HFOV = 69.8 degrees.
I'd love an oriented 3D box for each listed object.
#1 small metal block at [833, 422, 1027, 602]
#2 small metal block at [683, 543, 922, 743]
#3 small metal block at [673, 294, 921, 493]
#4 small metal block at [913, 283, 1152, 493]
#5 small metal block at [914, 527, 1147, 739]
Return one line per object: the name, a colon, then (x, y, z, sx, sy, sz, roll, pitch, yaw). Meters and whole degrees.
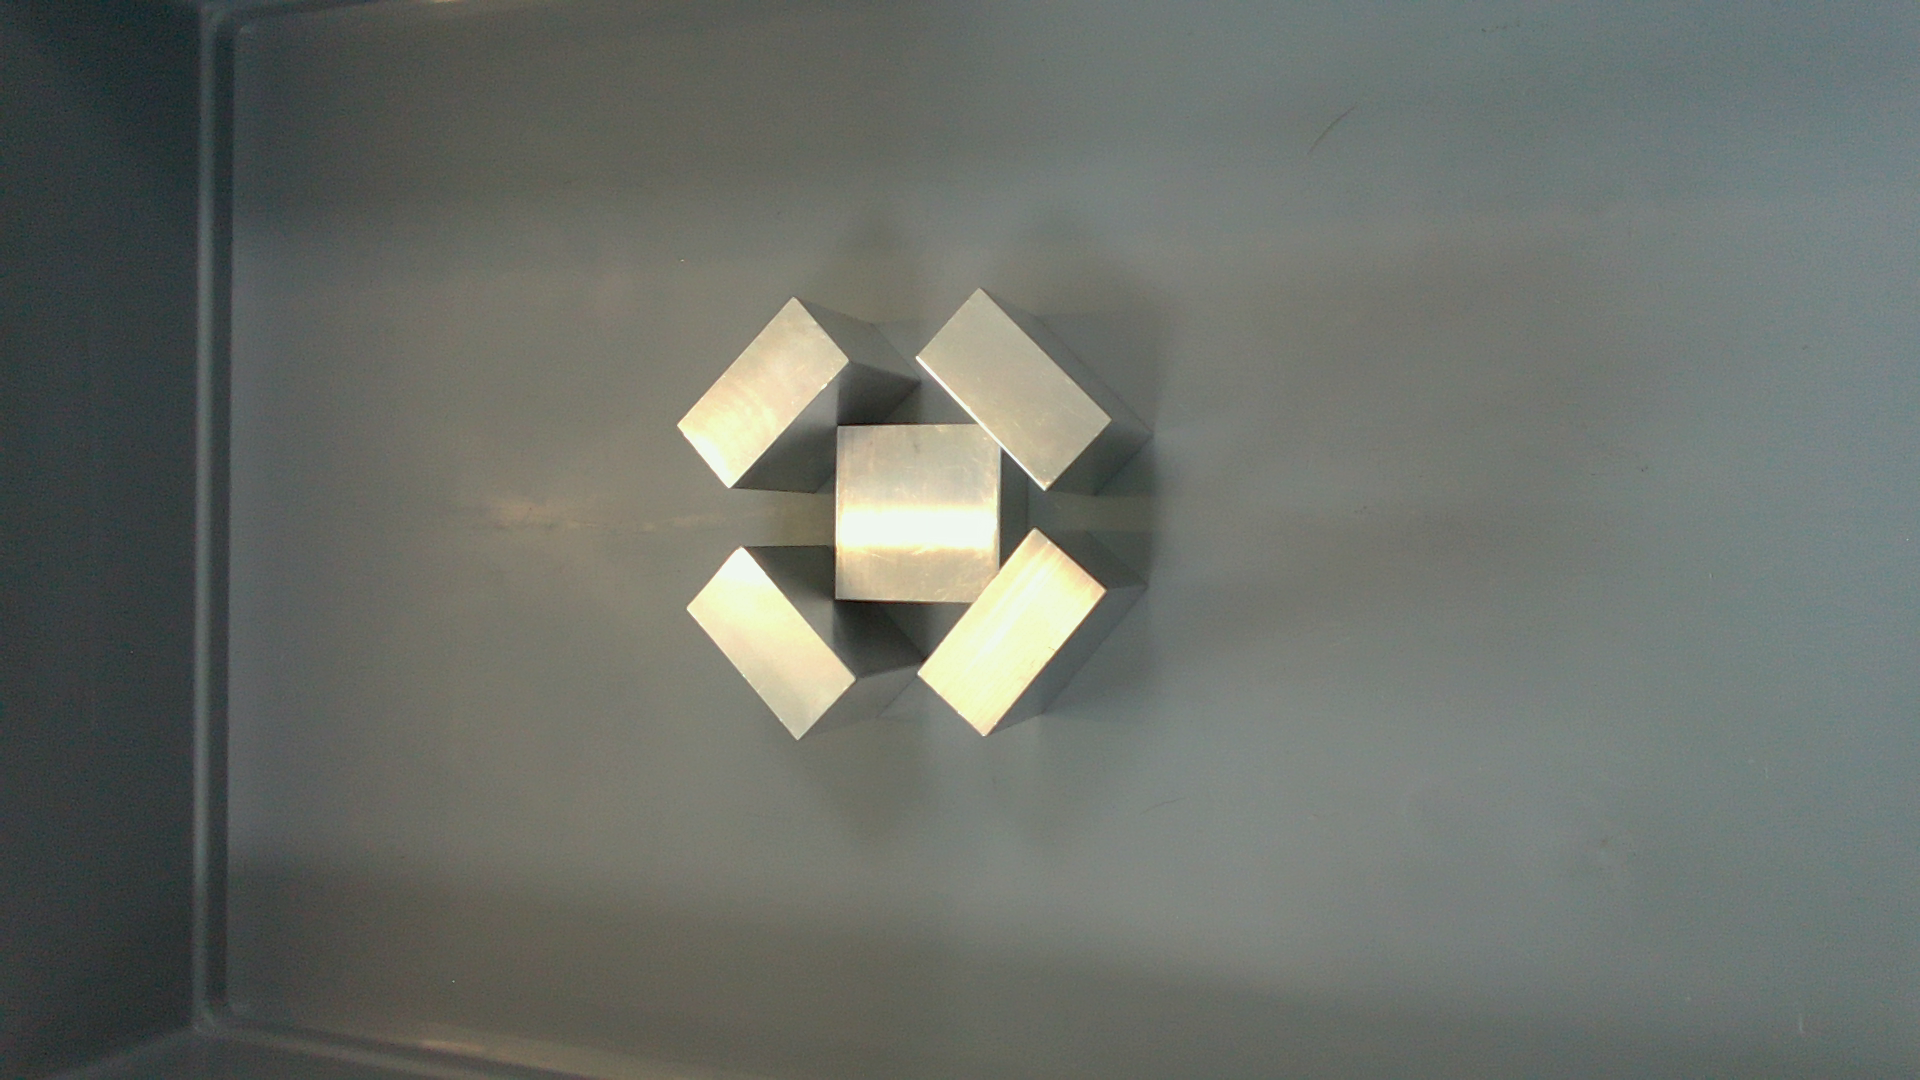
small metal block: (-0.008, -0.008, 0.397, 0.050, 0.025, 0.050, 1, 90, 20)
small metal block: (-0.043, 0.028, 0.397, 0.025, 0.050, 0.050, -47, 75, 15)
small metal block: (-0.046, -0.040, 0.397, 0.050, 0.050, 0.025, -44, 75, 15)
small metal block: (0.021, -0.039, 0.373, 0.025, 0.050, 0.050, -46, 77, 13)
small metal block: (0.021, 0.024, 0.373, 0.025, 0.050, 0.050, 42, 102, 14)
